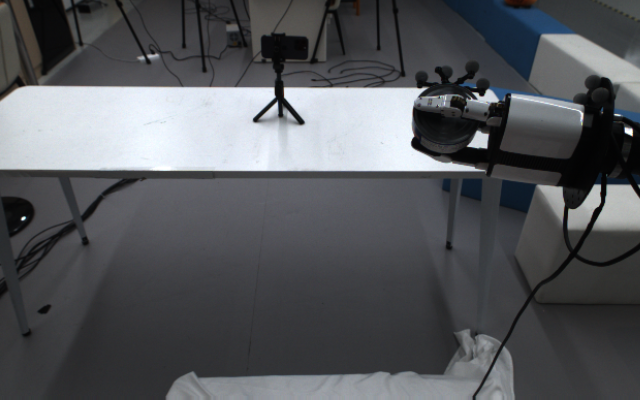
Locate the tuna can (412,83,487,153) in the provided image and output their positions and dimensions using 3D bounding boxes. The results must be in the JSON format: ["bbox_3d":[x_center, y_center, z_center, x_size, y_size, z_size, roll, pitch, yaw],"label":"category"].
[{"bbox_3d":[0.162,-0.108,0.625,0.085,0.034,0.085,-2,70,7],"label":"tuna can"}]
